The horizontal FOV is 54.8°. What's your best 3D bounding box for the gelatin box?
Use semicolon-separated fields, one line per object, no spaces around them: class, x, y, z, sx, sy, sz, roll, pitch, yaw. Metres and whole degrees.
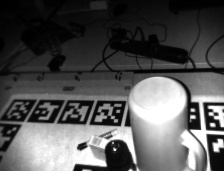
gelatin box;-0.007;0.155;0.556;0.088;0.074;0.030;8;53;20

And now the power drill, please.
power drill;0.057;0.185;0.428;0.184;0.186;0.057;32;64;31

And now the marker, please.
marker;-0.045;0.134;0.622;0.121;0.020;0.019;-21;45;-5

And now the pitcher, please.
pitcher;0.117;0.094;0.470;0.186;0.245;0.134;23;59;41
